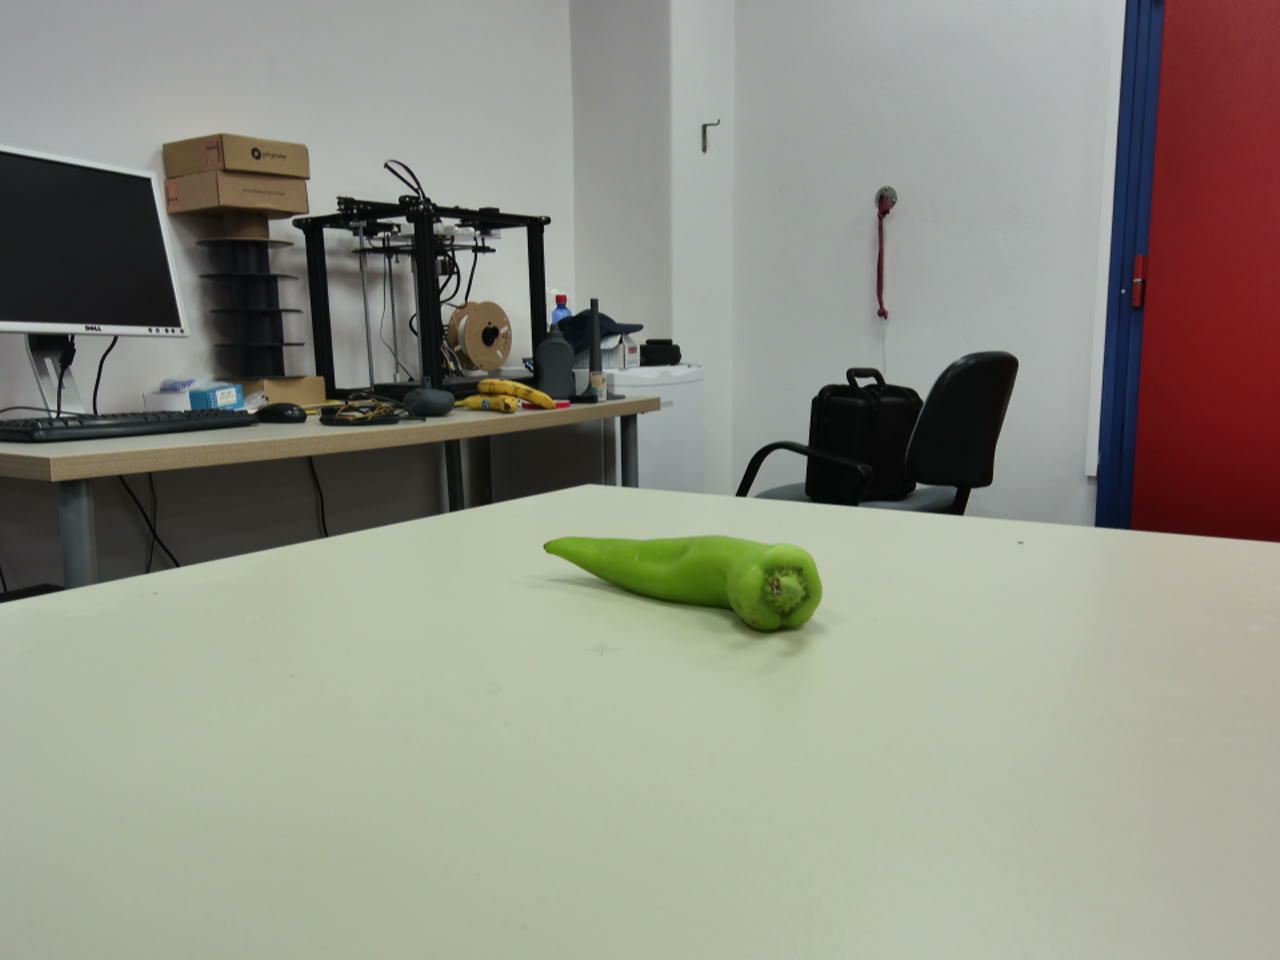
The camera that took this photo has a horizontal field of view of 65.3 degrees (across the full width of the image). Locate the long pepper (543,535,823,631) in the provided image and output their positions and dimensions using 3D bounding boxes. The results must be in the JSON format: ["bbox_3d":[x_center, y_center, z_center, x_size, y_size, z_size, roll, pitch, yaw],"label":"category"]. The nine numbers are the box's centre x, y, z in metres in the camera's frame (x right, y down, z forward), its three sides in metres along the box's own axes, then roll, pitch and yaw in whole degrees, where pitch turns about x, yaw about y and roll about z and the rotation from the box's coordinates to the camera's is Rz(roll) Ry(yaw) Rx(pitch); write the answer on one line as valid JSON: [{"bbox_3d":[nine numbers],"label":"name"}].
[{"bbox_3d":[0.026,0.049,0.569,0.065,0.045,0.205,-4,7,-38],"label":"long pepper"}]
